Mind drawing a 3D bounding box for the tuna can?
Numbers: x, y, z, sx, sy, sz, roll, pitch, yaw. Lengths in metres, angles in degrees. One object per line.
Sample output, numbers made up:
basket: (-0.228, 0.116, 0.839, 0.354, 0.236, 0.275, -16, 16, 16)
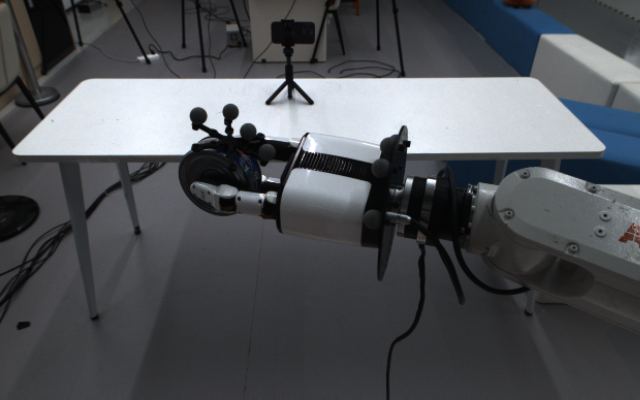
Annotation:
tuna can: (-0.108, -0.025, 0.529, 0.085, 0.085, 0.034, 12, 35, 14)
